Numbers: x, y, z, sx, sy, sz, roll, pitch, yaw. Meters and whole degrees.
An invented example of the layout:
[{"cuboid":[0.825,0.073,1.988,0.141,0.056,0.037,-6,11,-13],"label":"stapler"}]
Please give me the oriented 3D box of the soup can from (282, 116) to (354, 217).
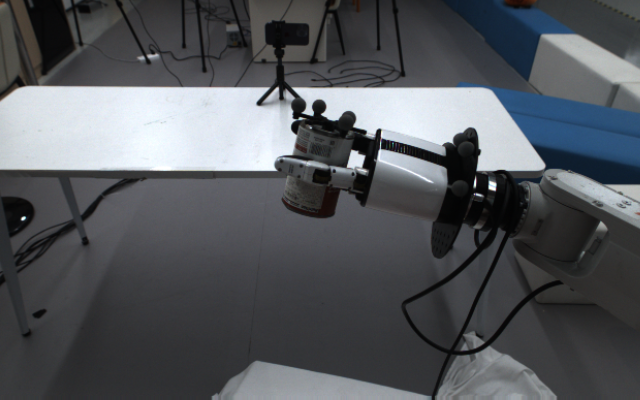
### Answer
[{"cuboid":[-0.001,-0.038,0.578,0.067,0.101,0.067,13,18,-4],"label":"soup can"}]
